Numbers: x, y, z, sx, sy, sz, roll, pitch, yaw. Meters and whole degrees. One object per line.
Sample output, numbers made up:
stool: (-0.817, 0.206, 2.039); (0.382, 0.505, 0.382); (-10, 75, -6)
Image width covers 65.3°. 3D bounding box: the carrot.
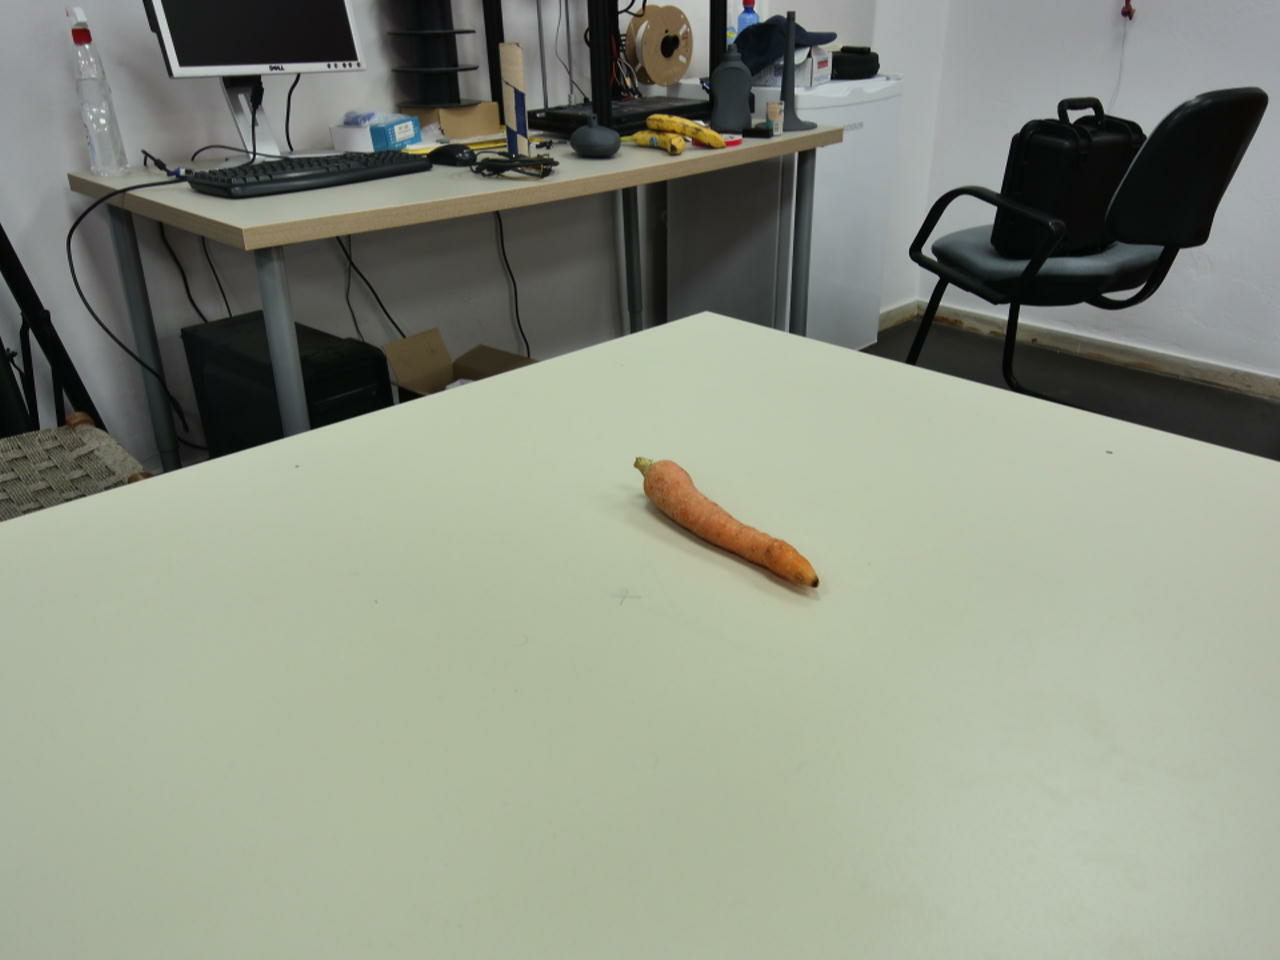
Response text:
carrot: (0.049, 0.023, 0.620); (0.030, 0.032, 0.173); (-15, 28, -30)
